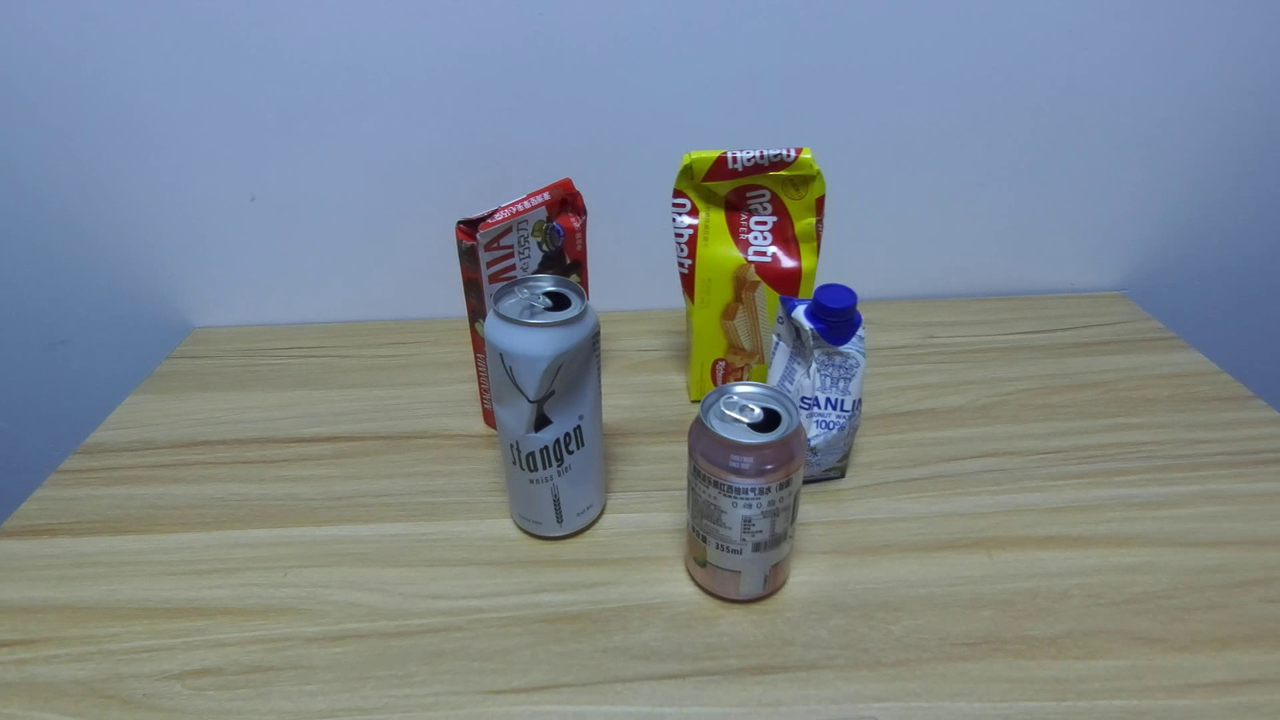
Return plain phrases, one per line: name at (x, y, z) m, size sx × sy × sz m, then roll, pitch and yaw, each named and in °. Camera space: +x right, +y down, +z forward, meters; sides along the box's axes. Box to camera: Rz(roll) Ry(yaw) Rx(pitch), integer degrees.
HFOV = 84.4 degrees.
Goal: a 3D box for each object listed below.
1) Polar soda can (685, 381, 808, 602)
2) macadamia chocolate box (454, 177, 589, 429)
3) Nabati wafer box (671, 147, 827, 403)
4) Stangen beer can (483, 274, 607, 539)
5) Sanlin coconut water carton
Polar soda can at (0.060, 0.078, 0.413) m, size 0.067 × 0.126 × 0.067 m, roll -1°, pitch 33°, yaw 1°
macadamia chocolate box at (-0.081, -0.038, 0.543) m, size 0.103 × 0.187 × 0.027 m, roll -27°, pitch 45°, yaw -34°
Nabati wafer box at (0.083, -0.062, 0.554) m, size 0.113 × 0.205 × 0.042 m, roll -3°, pitch 32°, yaw -1°
Stangen beer can at (-0.056, 0.033, 0.446) m, size 0.070 × 0.173 × 0.069 m, roll -5°, pitch 34°, yaw -4°
Sanlin coconut water carton at (0.124, 0.013, 0.498) m, size 0.057 × 0.144 × 0.068 m, roll -3°, pitch 25°, yaw -15°
